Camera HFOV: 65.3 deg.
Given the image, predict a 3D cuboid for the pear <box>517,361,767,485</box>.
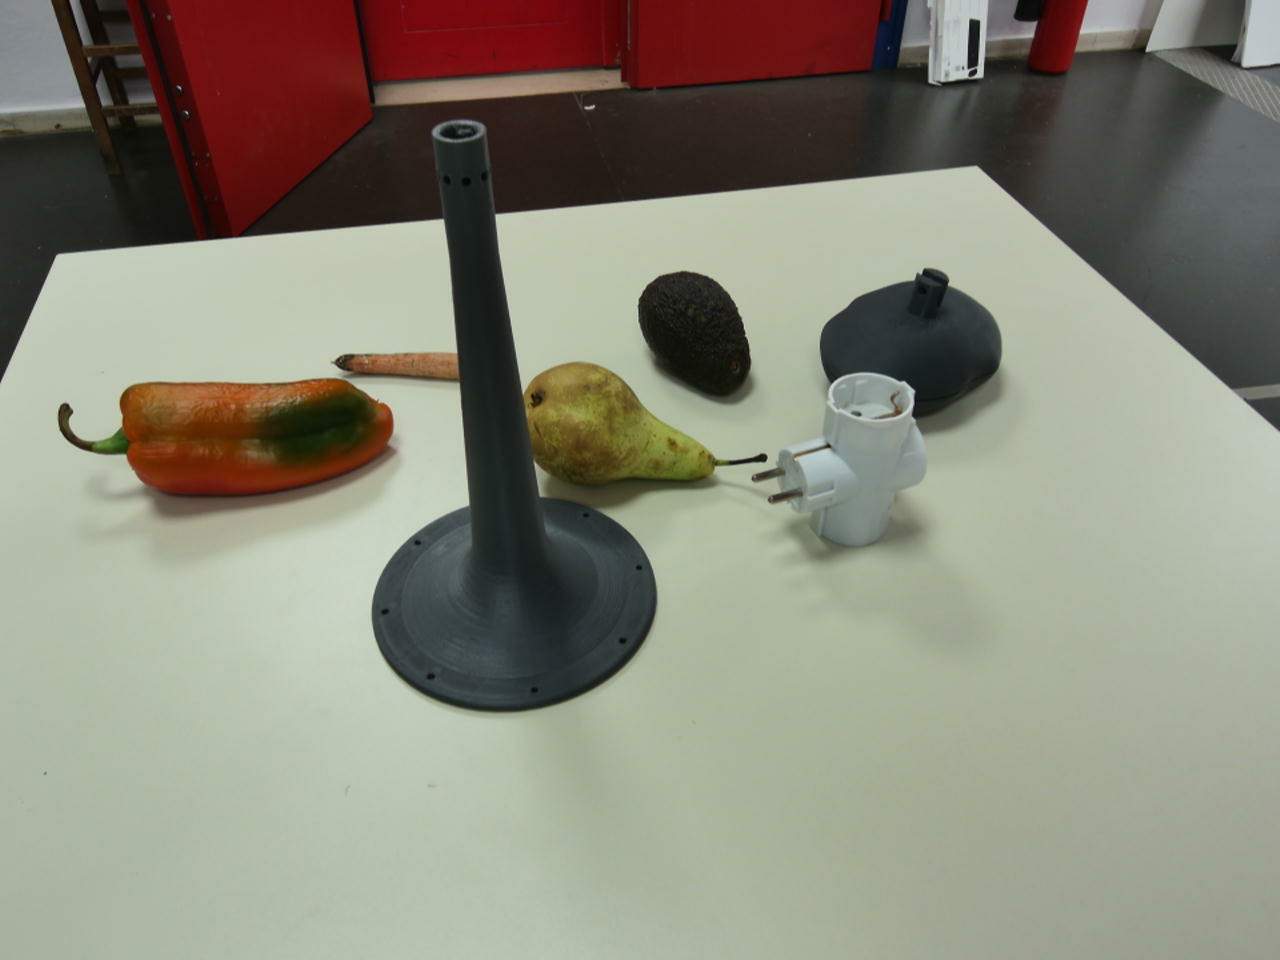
[{"bbox_3d":[-0.001,-0.036,0.594,0.144,0.075,0.071,-4,39,-4],"label":"pear"}]
